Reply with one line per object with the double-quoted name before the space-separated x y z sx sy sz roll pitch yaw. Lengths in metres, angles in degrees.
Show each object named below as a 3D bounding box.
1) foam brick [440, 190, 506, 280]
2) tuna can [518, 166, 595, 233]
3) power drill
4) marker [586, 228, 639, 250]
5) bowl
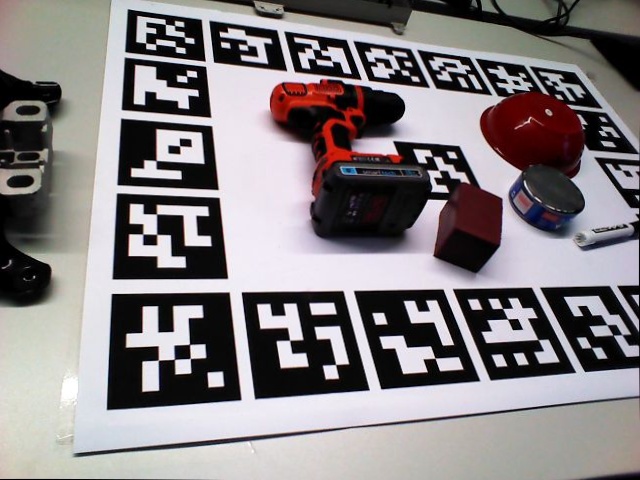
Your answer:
"foam brick" 0.169 -0.005 0.566 0.051 0.053 0.077 21 50 -4
"tuna can" 0.295 -0.051 0.648 0.086 0.034 0.085 11 50 -13
"power drill" 0.041 -0.099 0.592 0.184 0.058 0.186 2 50 -22
"marker" 0.384 -0.004 0.649 0.120 0.020 0.019 -8 57 -24
"bowl" 0.318 -0.153 0.737 0.162 0.055 0.160 7 45 -8
